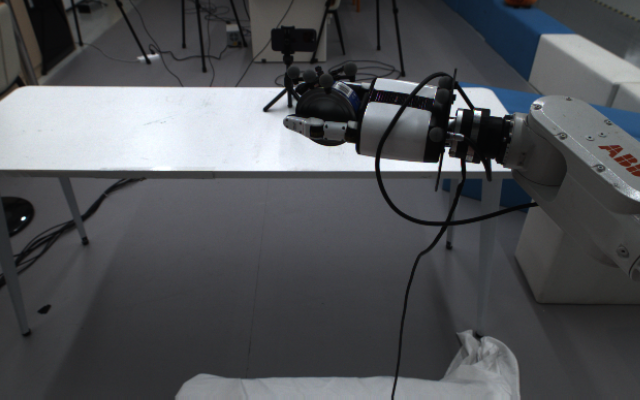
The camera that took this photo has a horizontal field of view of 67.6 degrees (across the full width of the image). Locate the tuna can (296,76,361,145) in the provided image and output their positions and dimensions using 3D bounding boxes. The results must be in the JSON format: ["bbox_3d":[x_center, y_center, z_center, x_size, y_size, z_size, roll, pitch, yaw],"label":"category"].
[{"bbox_3d":[0.013,-0.119,0.653,0.085,0.085,0.034,14,40,16],"label":"tuna can"}]
